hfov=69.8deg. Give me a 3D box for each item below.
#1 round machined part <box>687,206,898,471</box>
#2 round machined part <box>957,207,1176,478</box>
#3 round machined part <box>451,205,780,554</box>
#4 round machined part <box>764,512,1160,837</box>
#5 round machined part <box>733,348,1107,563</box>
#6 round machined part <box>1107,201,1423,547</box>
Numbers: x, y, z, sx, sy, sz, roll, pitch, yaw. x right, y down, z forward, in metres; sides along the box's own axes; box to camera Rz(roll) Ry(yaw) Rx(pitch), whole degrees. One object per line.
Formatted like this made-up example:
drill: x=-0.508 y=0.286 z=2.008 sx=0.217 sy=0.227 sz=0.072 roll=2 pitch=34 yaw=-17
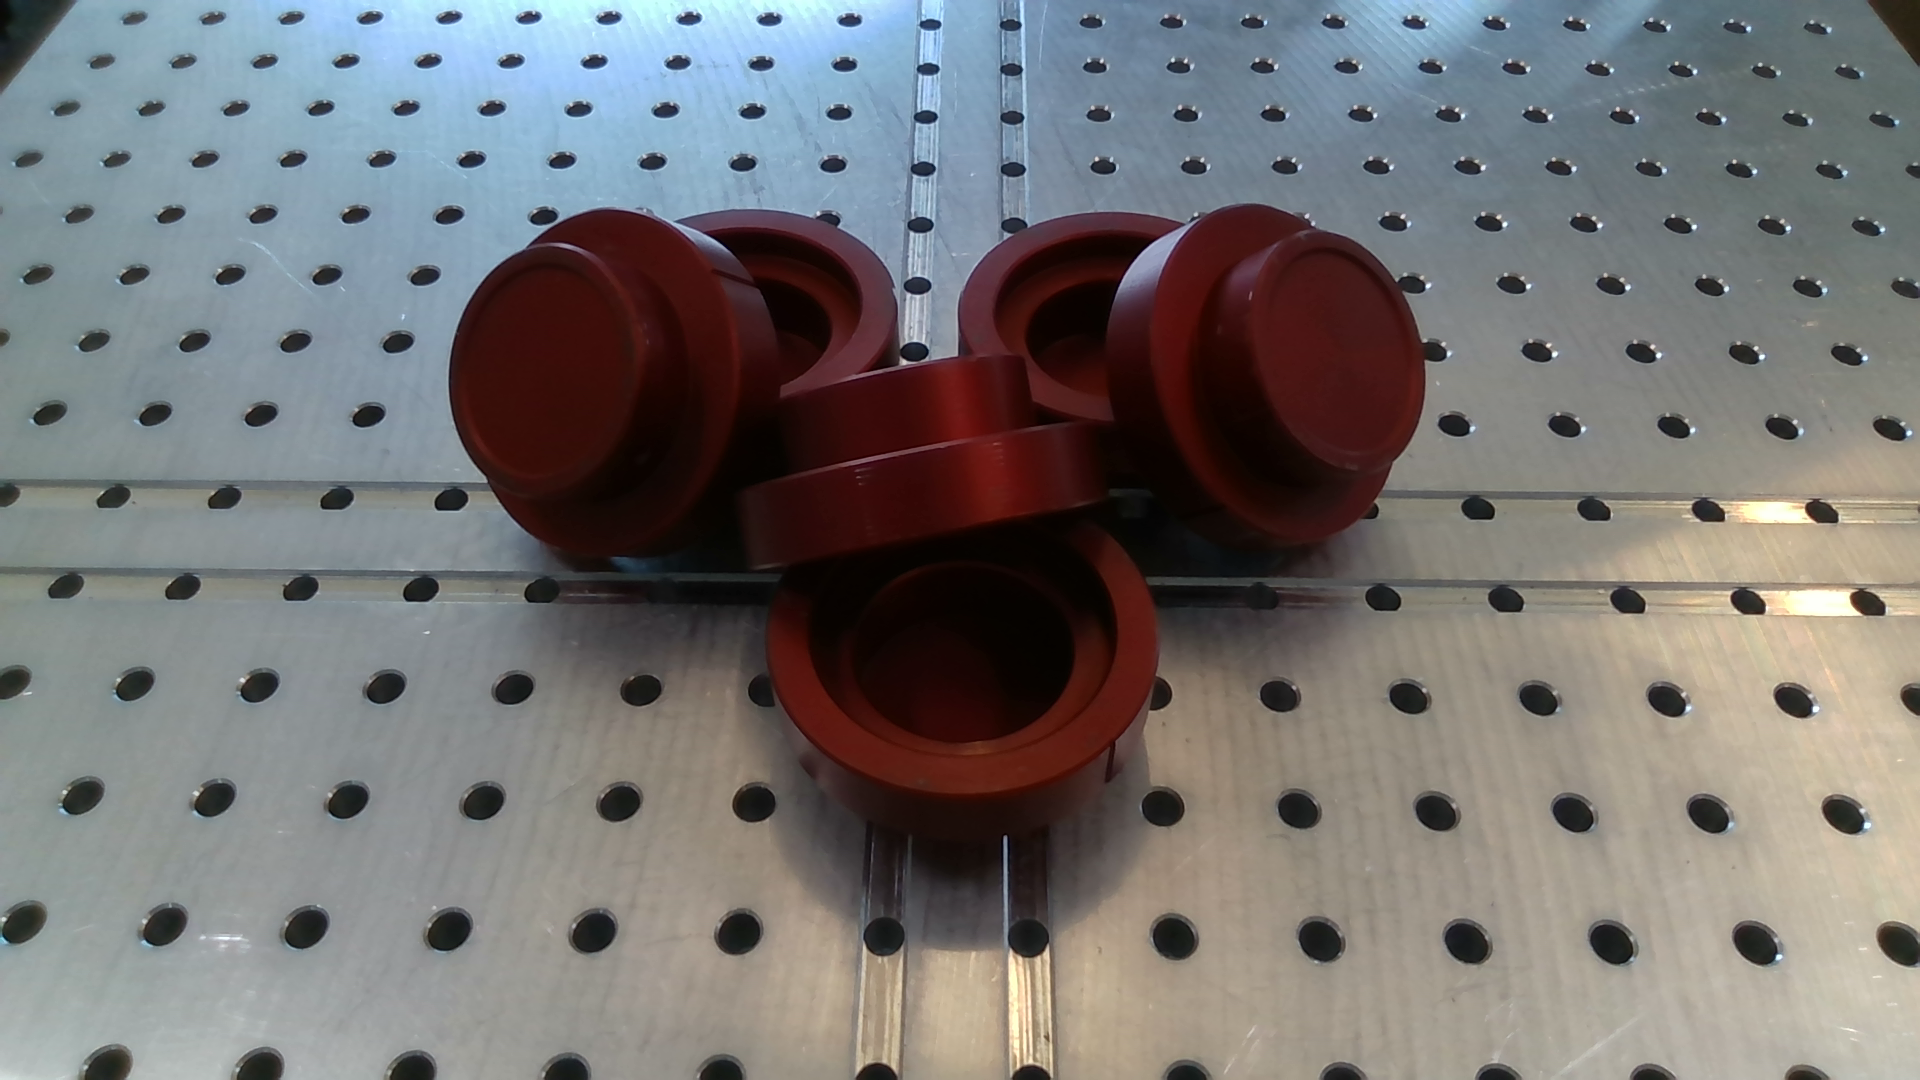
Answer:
round machined part: x=-0.068 y=-0.059 z=0.434 sx=0.098 sy=0.042 sz=0.098 roll=0 pitch=50 yaw=0
round machined part: x=0.048 y=-0.058 z=0.433 sx=0.098 sy=0.042 sz=0.098 roll=0 pitch=50 yaw=0
round machined part: x=-0.103 y=-0.045 z=0.386 sx=0.098 sy=0.042 sz=0.098 roll=-1 pitch=88 yaw=27
round machined part: x=0.000 y=0.033 z=0.357 sx=0.098 sy=0.042 sz=0.098 roll=0 pitch=50 yaw=0
round machined part: x=-0.012 y=-0.024 z=0.366 sx=0.098 sy=0.098 sz=0.042 roll=-11 pitch=93 yaw=-9
round machined part: x=0.092 y=-0.049 z=0.390 sx=0.098 sy=0.042 sz=0.098 roll=6 pitch=79 yaw=-33
